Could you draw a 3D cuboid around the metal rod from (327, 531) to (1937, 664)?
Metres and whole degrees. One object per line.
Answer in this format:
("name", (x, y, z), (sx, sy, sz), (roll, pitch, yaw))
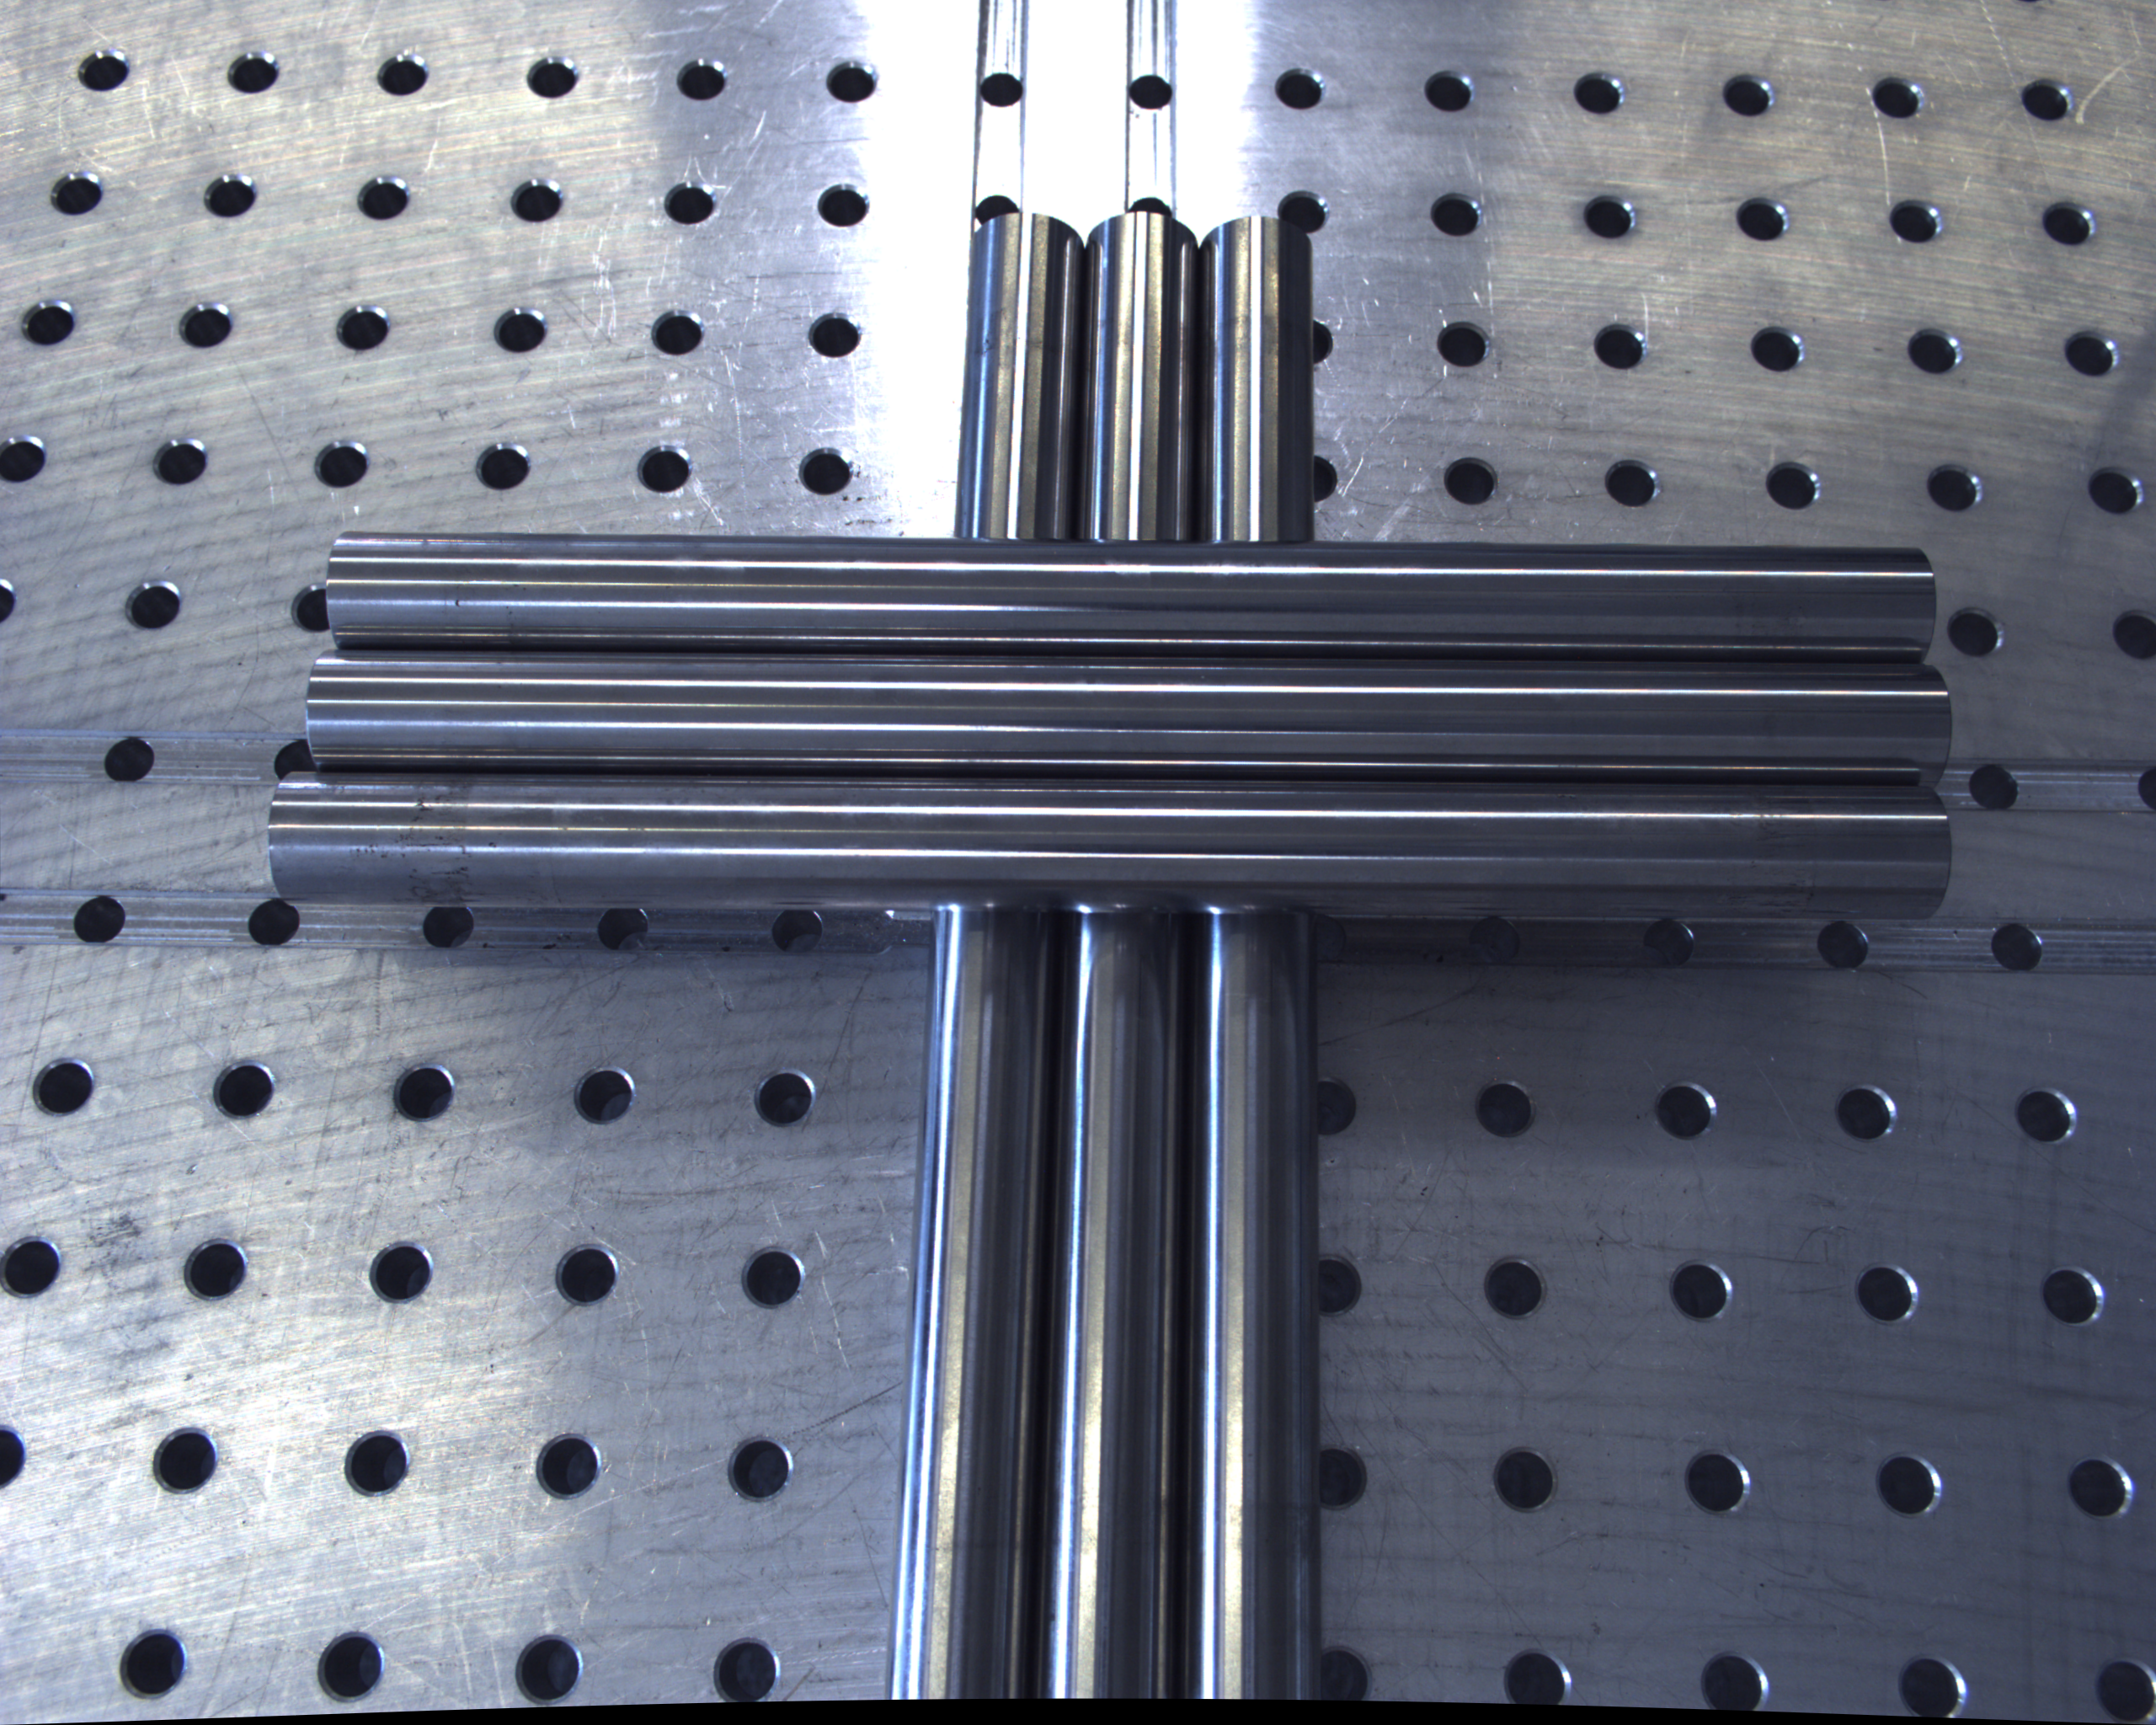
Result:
("metal rod", (0.010, -0.050, 0.404), (0.302, 0.025, 0.025), (1, 70, 0))

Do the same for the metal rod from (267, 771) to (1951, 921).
("metal rod", (0.006, -0.003, 0.386), (0.302, 0.025, 0.025), (1, 70, 0))

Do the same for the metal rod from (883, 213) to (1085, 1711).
("metal rod", (-0.016, 0.005, 0.410), (0.025, 0.025, 0.299), (2, 70, 1))

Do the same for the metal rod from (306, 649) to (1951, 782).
("metal rod", (0.009, -0.027, 0.395), (0.302, 0.025, 0.025), (1, 70, 0))

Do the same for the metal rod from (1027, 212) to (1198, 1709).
("metal rod", (0.009, 0.004, 0.410), (0.025, 0.025, 0.299), (2, 70, 1))

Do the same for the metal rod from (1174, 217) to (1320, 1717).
("metal rod", (0.034, 0.006, 0.410), (0.025, 0.025, 0.299), (2, 70, 1))
